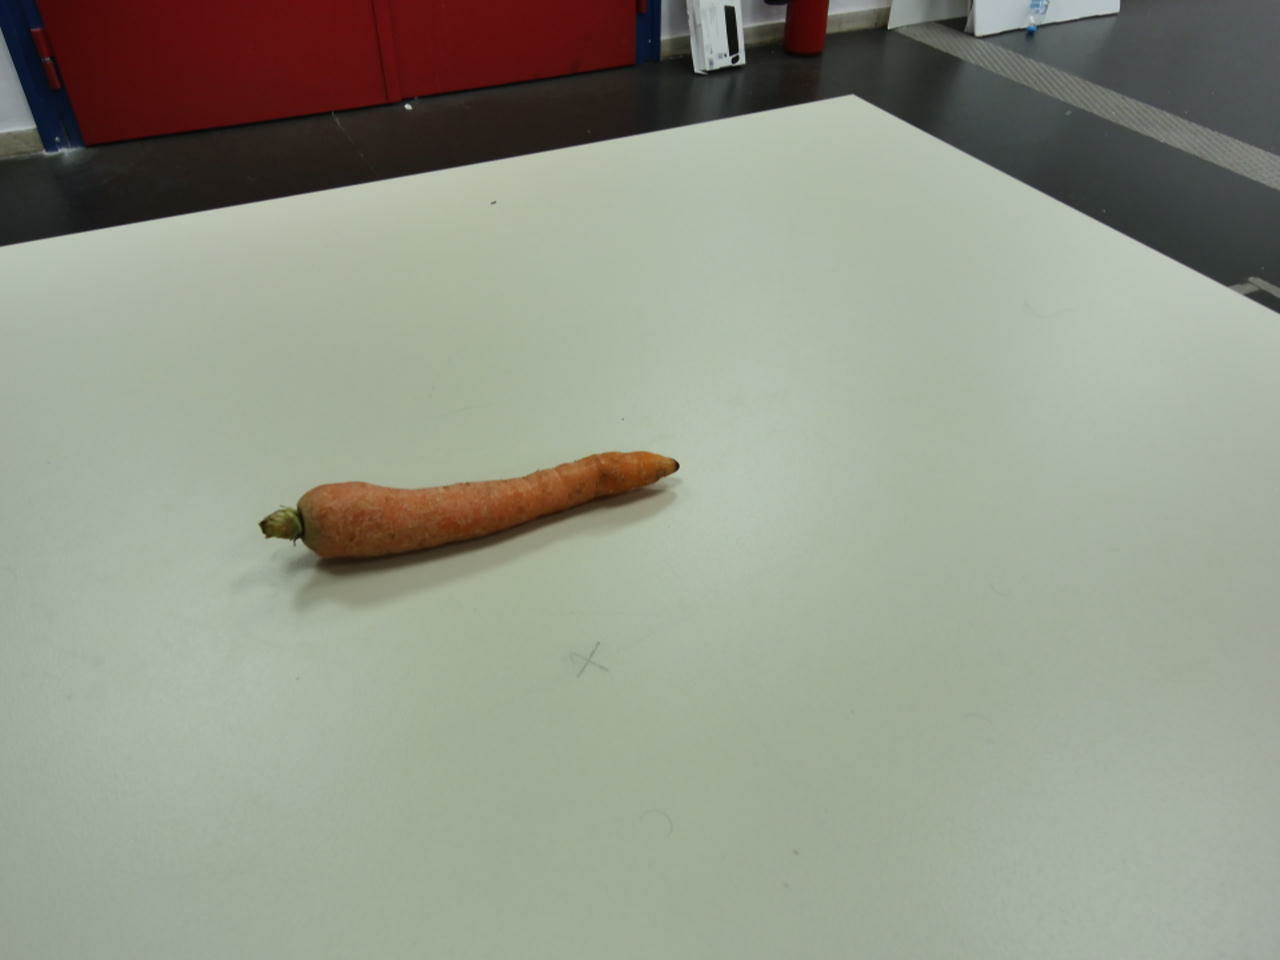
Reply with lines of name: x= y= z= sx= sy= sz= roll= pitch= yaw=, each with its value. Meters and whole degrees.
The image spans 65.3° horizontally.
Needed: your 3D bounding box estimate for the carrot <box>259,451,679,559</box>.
carrot: x=-0.064 y=0.006 z=0.409 sx=0.173 sy=0.032 sz=0.030 roll=-11 pitch=39 yaw=-14
